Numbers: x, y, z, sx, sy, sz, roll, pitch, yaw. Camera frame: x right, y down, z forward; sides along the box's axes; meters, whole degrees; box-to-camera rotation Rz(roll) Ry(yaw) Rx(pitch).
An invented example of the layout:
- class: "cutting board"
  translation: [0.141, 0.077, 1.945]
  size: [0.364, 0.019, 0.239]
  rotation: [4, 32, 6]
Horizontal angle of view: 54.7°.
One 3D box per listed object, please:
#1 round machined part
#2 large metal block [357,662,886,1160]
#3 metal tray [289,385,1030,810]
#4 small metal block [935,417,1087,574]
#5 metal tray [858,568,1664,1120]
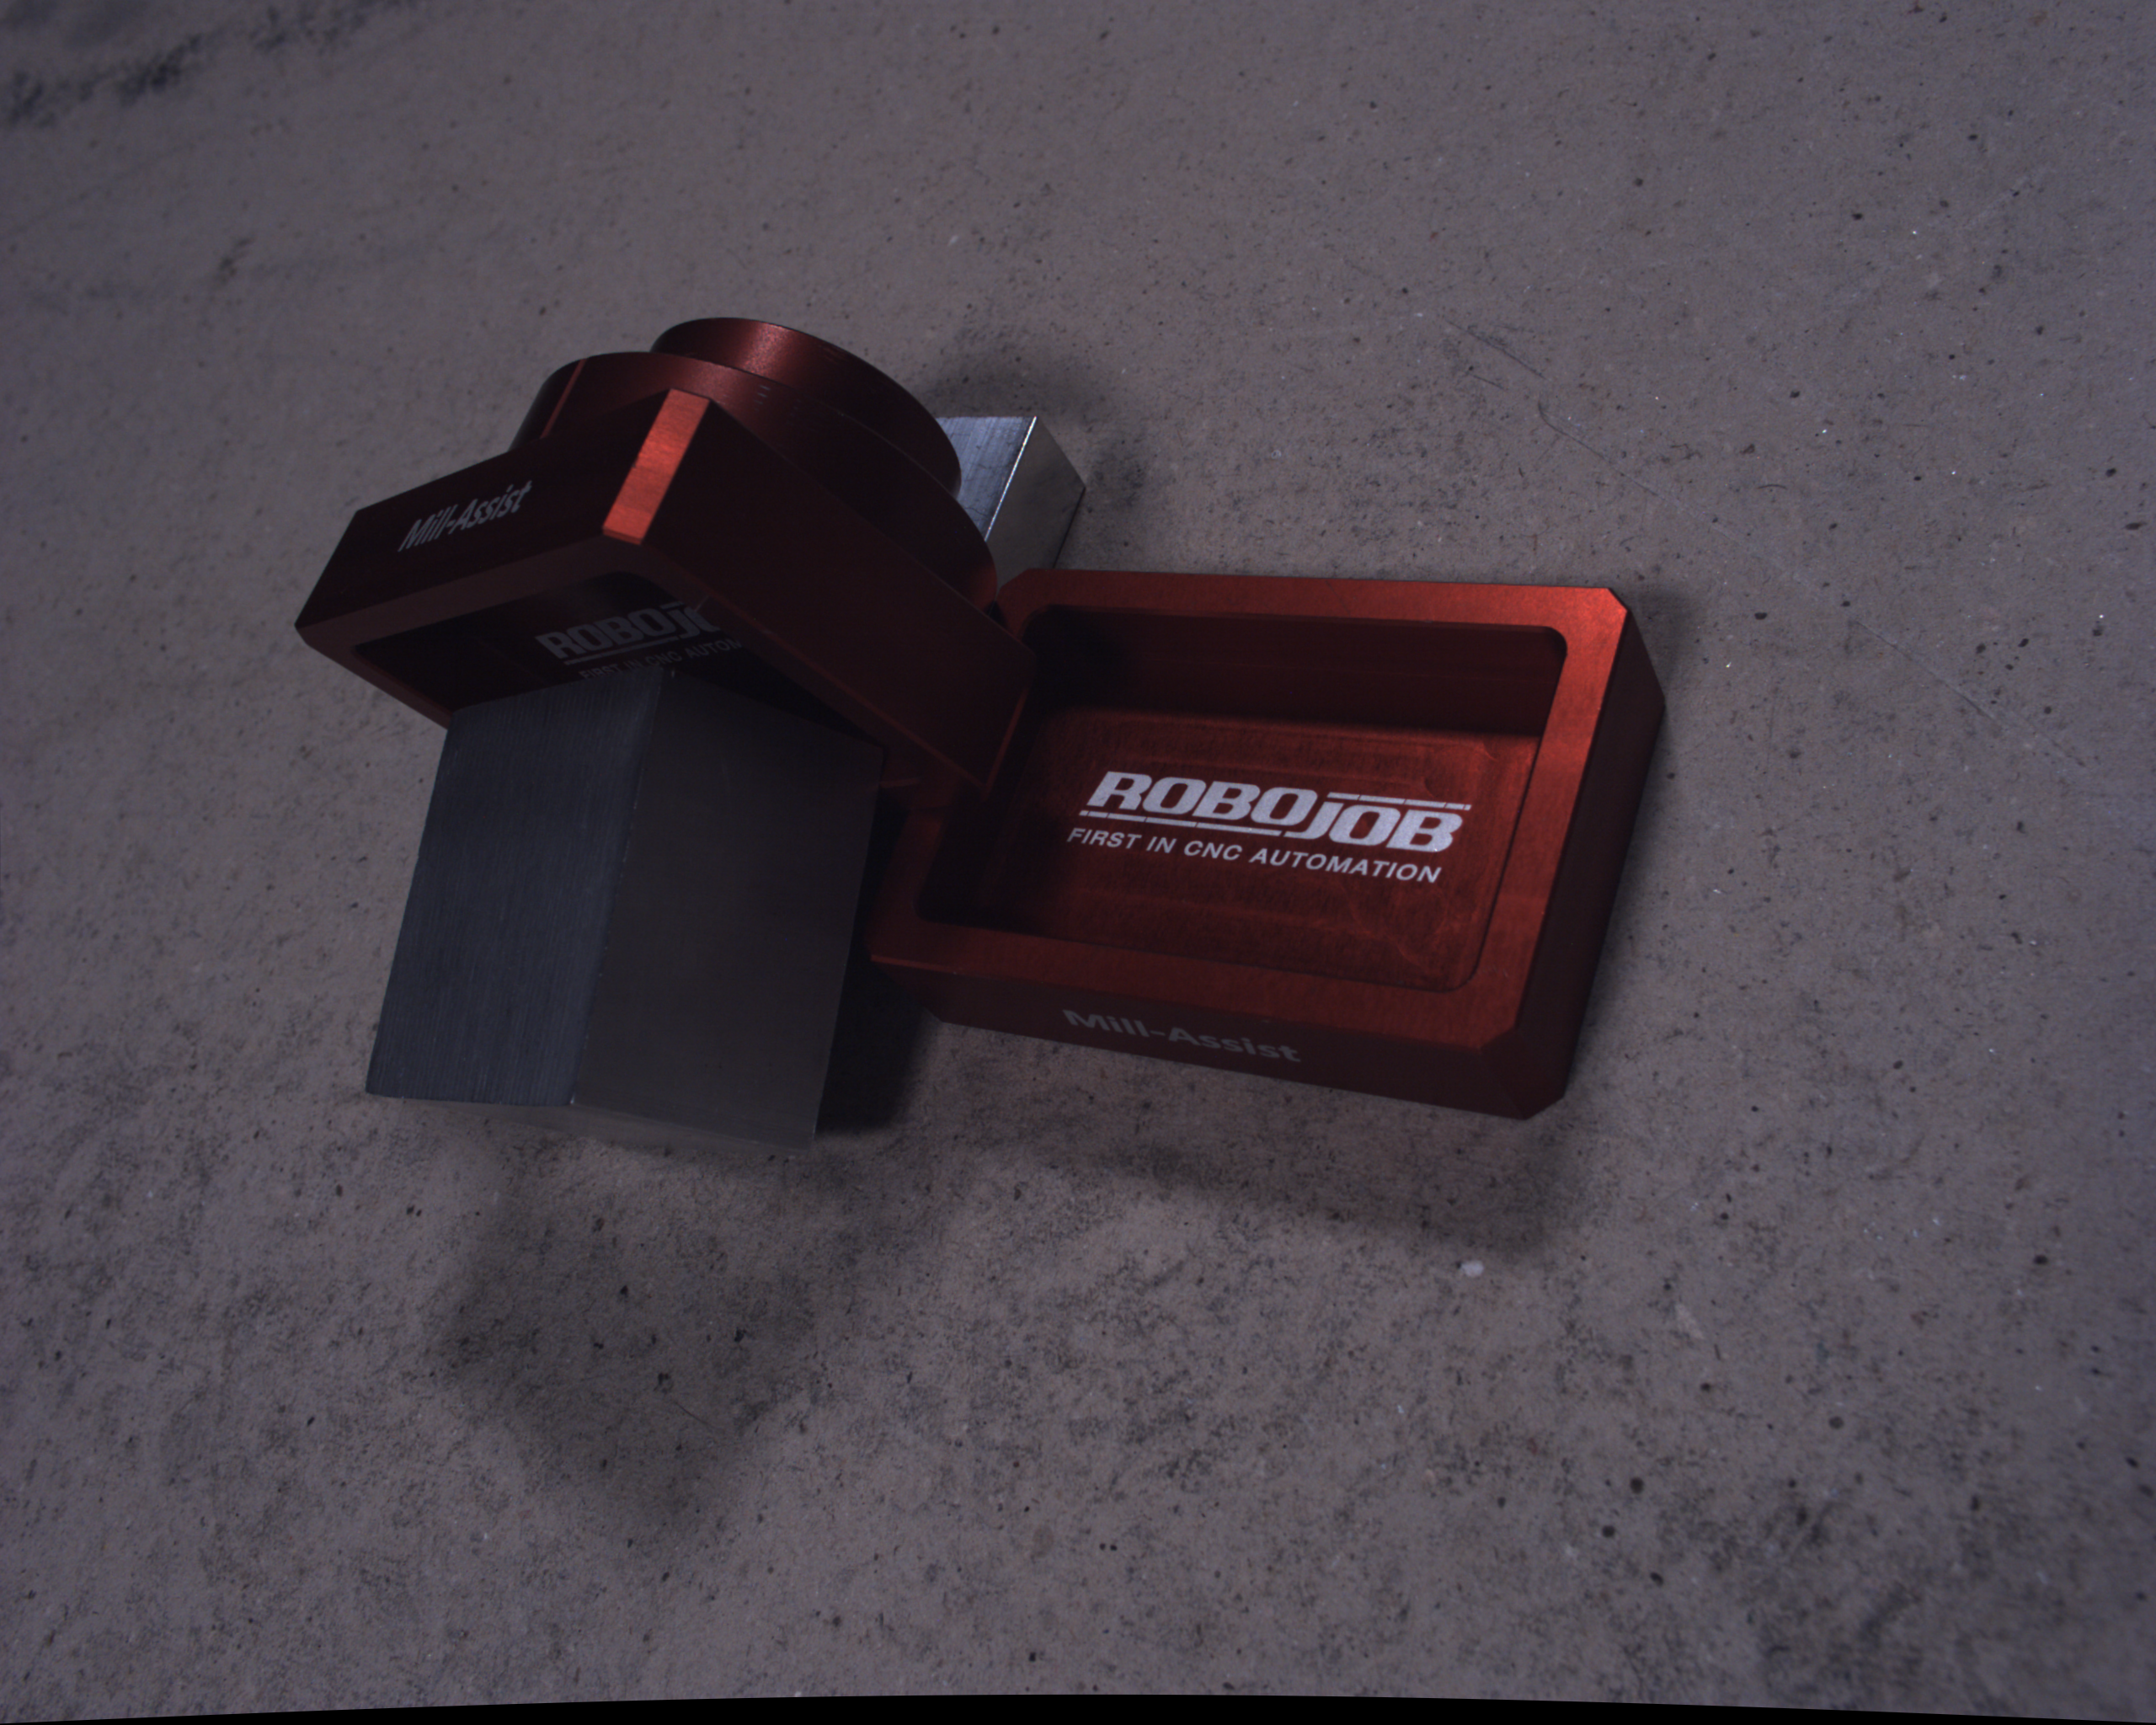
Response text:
- class: "round machined part"
  translation: [-0.063, -0.072, 0.420]
  size: [0.098, 0.098, 0.042]
  rotation: [6, 65, 30]
- class: "large metal block"
  translation: [-0.089, 0.012, 0.403]
  size: [0.080, 0.050, 0.080]
  rotation: [-4, 71, 46]
- class: "metal tray"
  translation: [-0.085, -0.043, 0.411]
  size: [0.130, 0.090, 0.030]
  rotation: [-4, 59, 47]
- class: "small metal block"
  translation: [-0.033, -0.072, 0.466]
  size: [0.050, 0.025, 0.050]
  rotation: [7, 65, 31]
- class: "metal tray"
  translation: [0.033, -0.008, 0.389]
  size: [0.130, 0.030, 0.090]
  rotation: [7, 65, 30]
